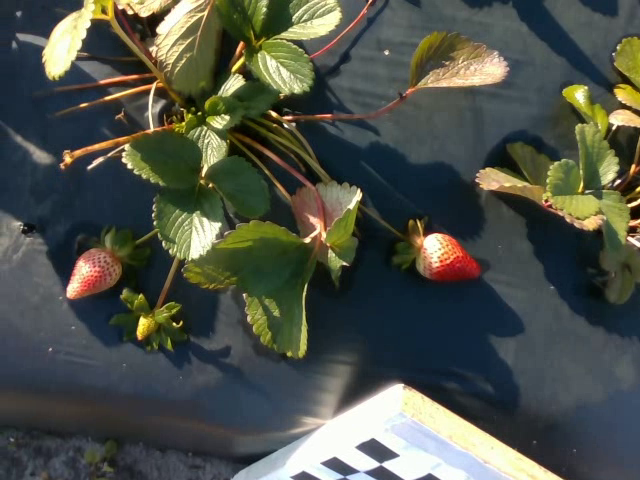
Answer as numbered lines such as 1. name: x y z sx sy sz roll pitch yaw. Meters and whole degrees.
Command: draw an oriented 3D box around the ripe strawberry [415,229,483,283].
1. ripe strawberry: 0.098 0.015 0.425 0.063 0.044 0.045 19 -43 -2
